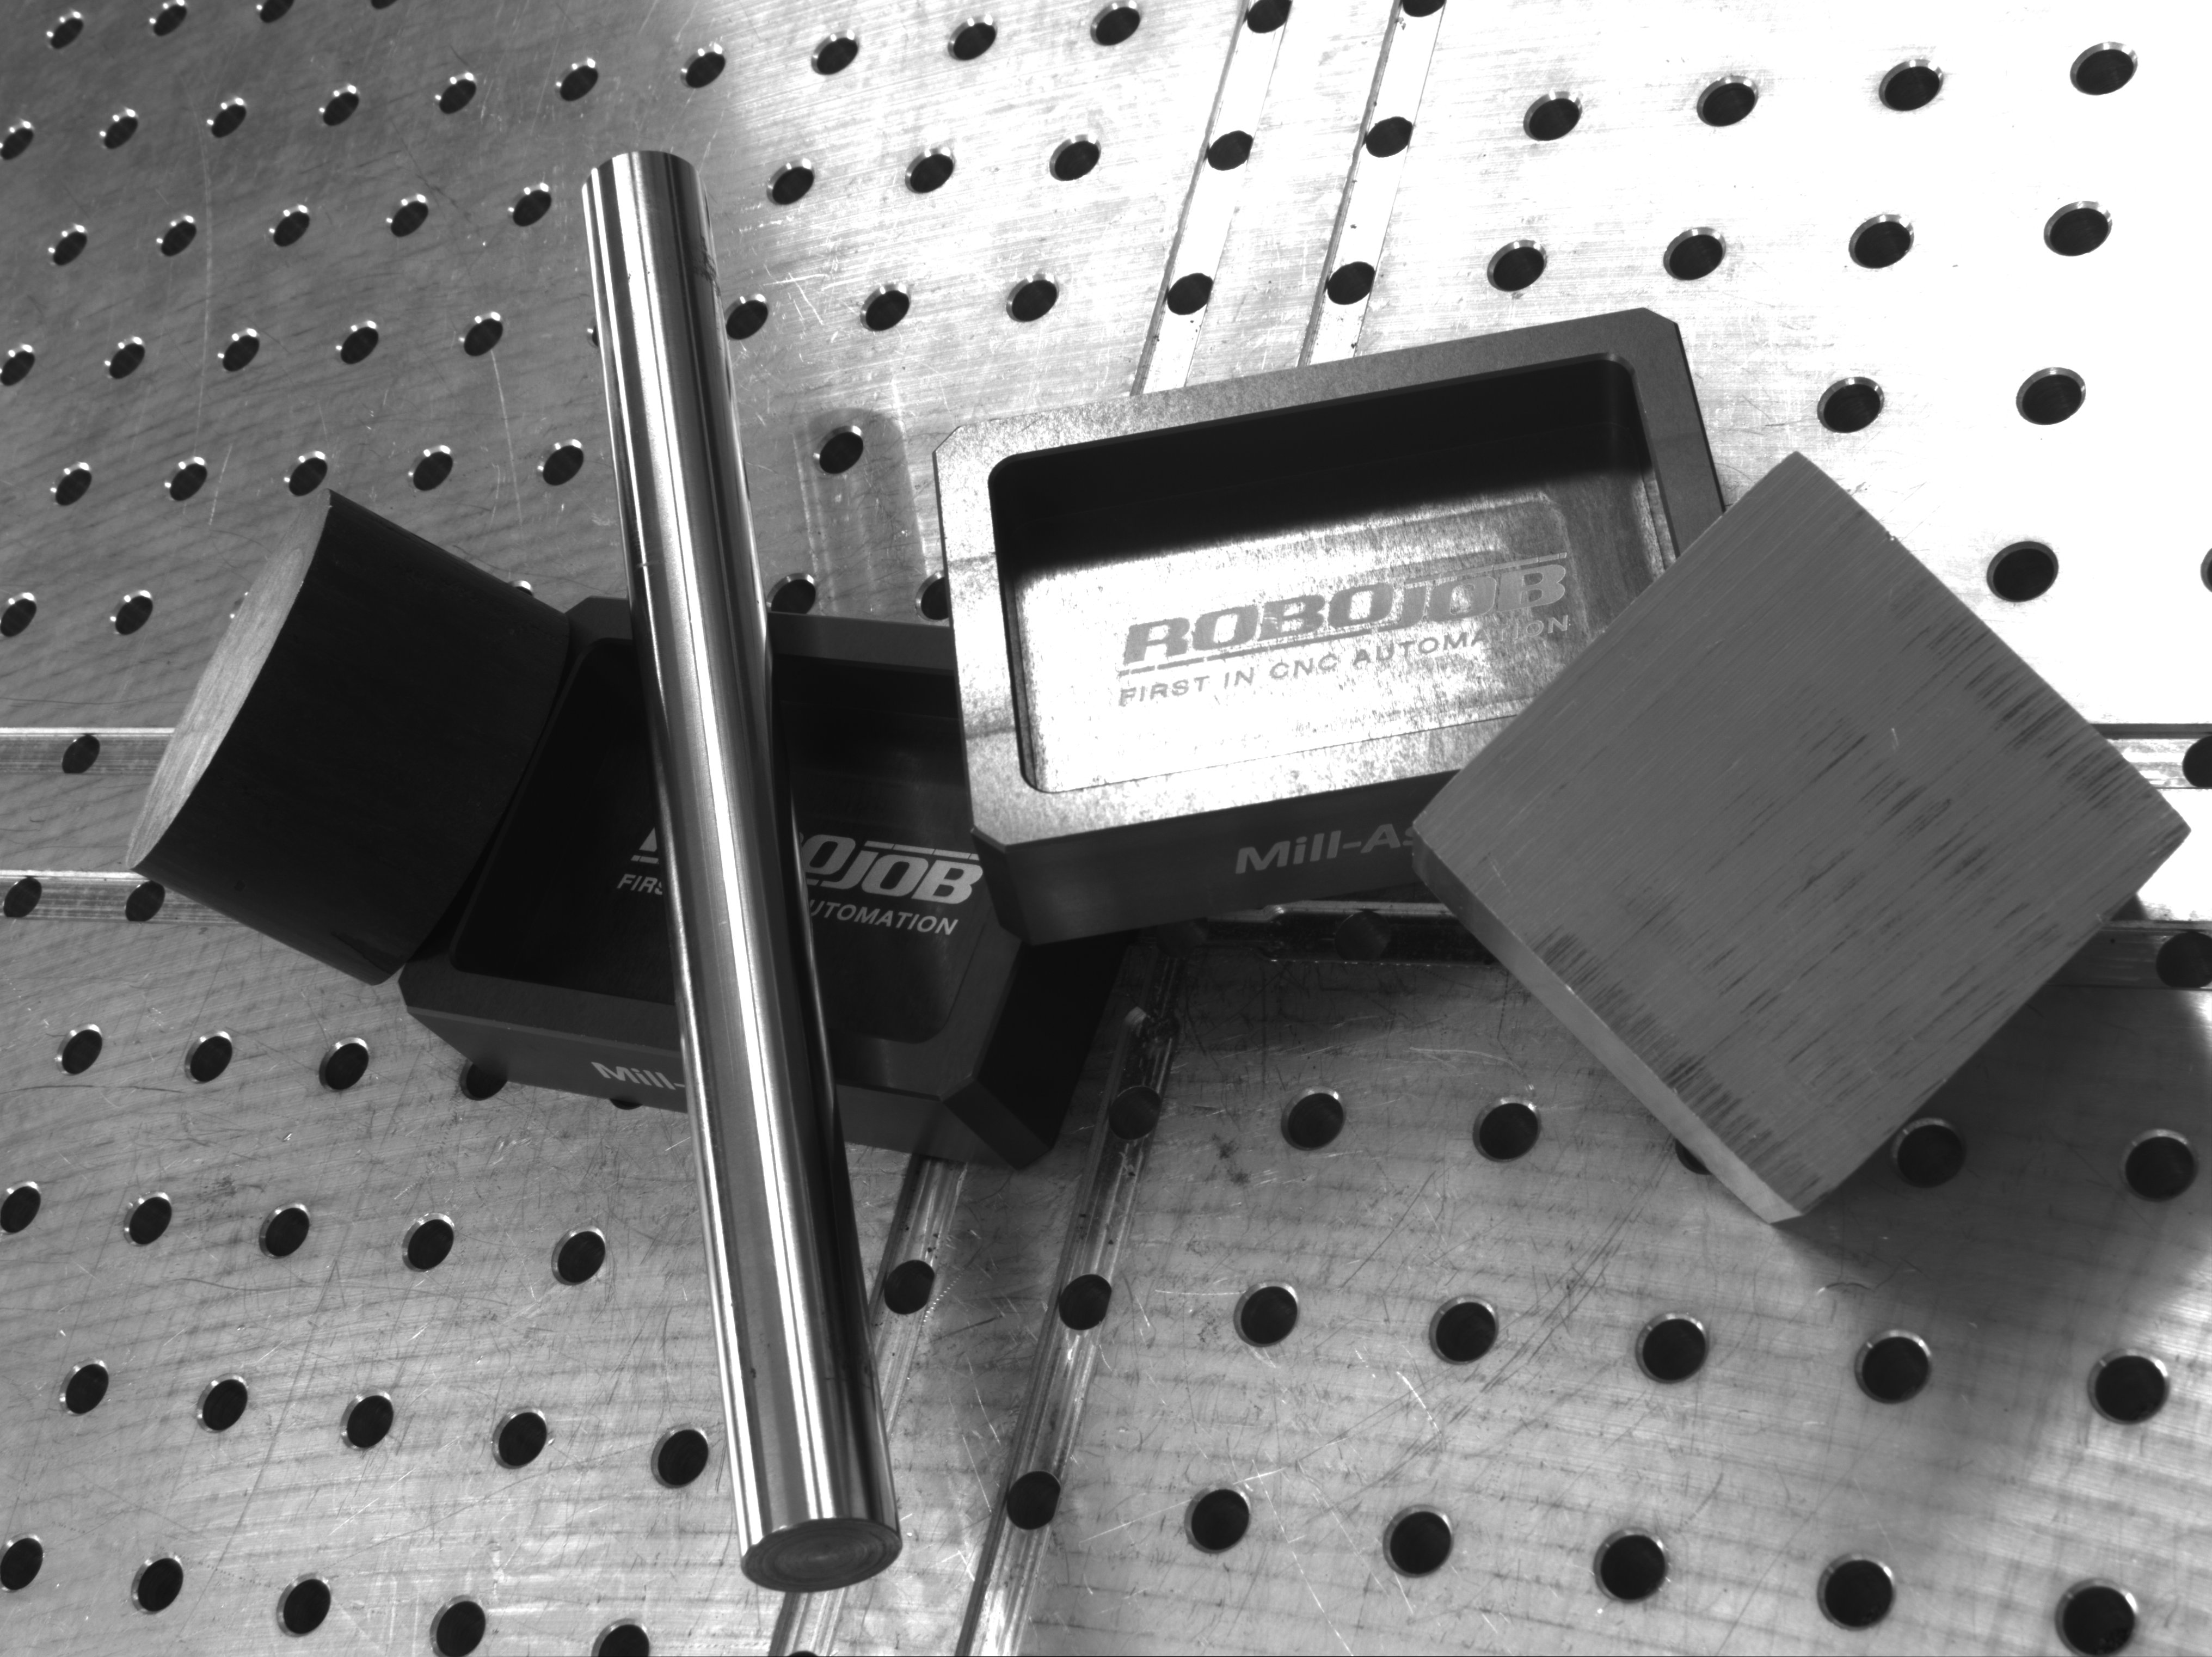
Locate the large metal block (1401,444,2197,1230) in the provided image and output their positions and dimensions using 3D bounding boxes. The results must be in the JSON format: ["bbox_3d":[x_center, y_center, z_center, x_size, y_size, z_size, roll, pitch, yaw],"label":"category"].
[{"bbox_3d":[0.101,0.003,0.553,0.080,0.050,0.080,-44,82,-2],"label":"large metal block"}]

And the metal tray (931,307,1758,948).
[{"bbox_3d":[0.040,-0.035,0.621,0.130,0.030,0.090,-10,56,3],"label":"metal tray"}]

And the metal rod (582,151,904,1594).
[{"bbox_3d":[-0.068,-0.007,0.651,0.025,0.025,0.300,-23,53,15],"label":"metal rod"}]

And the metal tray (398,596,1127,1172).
[{"bbox_3d":[-0.057,0.007,0.671,0.130,0.030,0.090,7,65,31],"label":"metal tray"}]

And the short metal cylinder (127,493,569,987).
[{"bbox_3d":[-0.144,-0.017,0.698,0.080,0.050,0.080,-50,23,30],"label":"short metal cylinder"}]
